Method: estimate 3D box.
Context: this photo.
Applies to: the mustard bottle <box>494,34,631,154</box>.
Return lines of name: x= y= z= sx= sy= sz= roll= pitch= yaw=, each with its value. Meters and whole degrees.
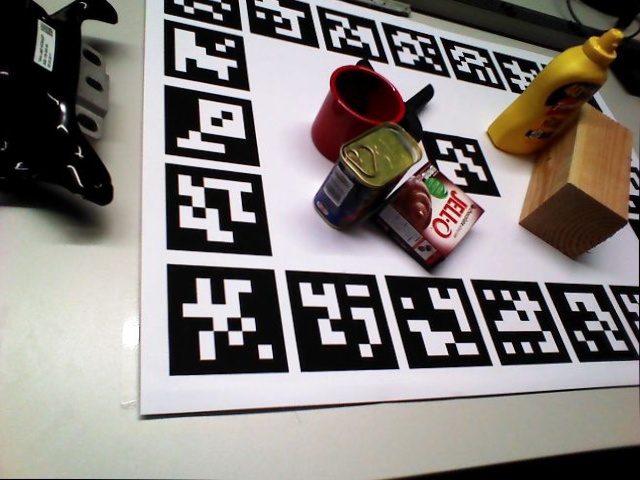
mustard bottle: x=0.330 y=-0.194 z=0.694 sx=0.096 sy=0.193 sz=0.058 roll=-1 pitch=61 yaw=-25

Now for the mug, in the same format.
mug: x=0.035 y=-0.141 z=0.621 sx=0.093 sy=0.082 sz=0.116 roll=24 pitch=54 yaw=-10

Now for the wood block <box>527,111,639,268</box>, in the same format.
wood block: x=0.362 y=-0.075 z=0.704 sx=0.090 sy=0.091 sz=0.204 roll=34 pitch=49 yaw=1

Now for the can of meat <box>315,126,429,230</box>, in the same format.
can of meat: x=0.051 y=-0.063 z=0.542 sx=0.101 sy=0.084 sz=0.058 roll=-28 pitch=76 yaw=-36

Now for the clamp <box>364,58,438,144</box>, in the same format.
clamp: x=0.103 y=-0.167 z=0.676 sx=0.122 sy=0.037 sz=0.164 roll=22 pitch=55 yaw=-13

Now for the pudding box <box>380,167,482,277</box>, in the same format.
pudding box: x=0.134 y=-0.024 z=0.592 sx=0.090 sy=0.039 sz=0.113 roll=45 pitch=50 yaw=6
